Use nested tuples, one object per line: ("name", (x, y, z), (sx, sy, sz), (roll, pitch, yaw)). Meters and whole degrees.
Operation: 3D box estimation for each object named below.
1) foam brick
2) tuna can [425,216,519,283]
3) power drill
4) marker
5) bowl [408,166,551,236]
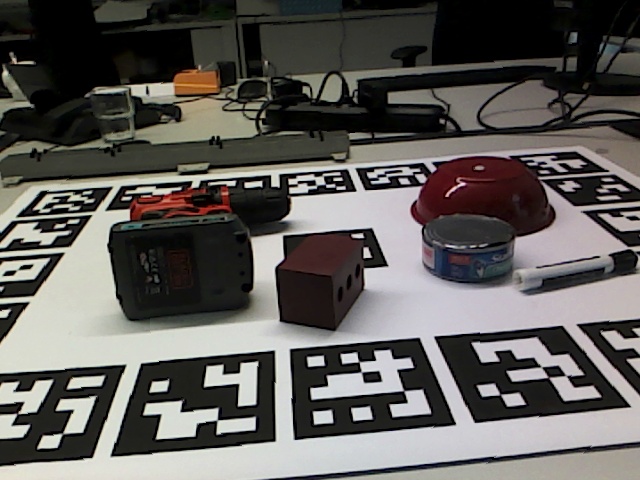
("foam brick", (0.006, 0.042, 0.529), (0.051, 0.052, 0.078), (7, 27, 18))
("tuna can", (0.144, 0.008, 0.594), (0.086, 0.033, 0.086), (0, 24, 0))
("power drill", (-0.119, 0.001, 0.623), (0.184, 0.057, 0.187), (-2, 22, -6))
("marker", (0.235, 0.029, 0.555), (0.121, 0.019, 0.020), (-8, 27, -13))
("bowl", (0.181, -0.049, 0.715), (0.162, 0.055, 0.162), (-6, 18, 1))
